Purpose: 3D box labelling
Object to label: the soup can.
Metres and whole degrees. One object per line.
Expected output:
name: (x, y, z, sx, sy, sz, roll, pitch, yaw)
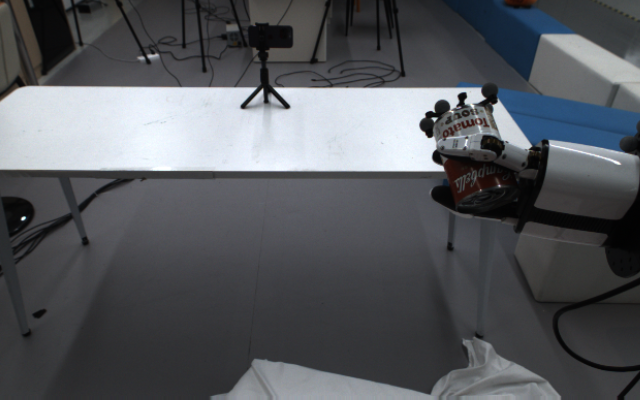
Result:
soup can: (0.170, -0.046, 0.529, 0.067, 0.067, 0.101, -7, 68, -13)
